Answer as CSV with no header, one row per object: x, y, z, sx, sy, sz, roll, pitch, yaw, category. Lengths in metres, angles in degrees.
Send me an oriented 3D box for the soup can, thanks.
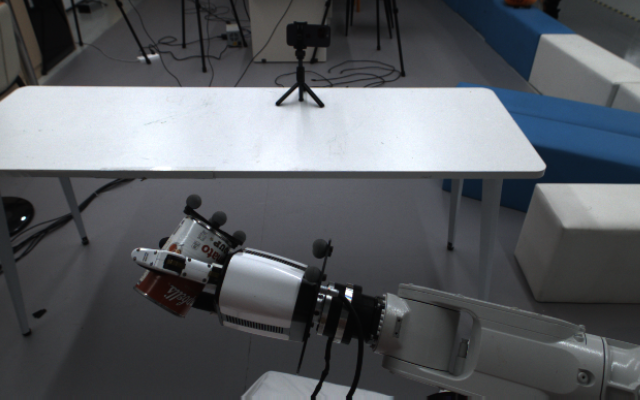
-0.159,0.078,0.565,0.067,0.067,0.101,25,72,29,soup can
